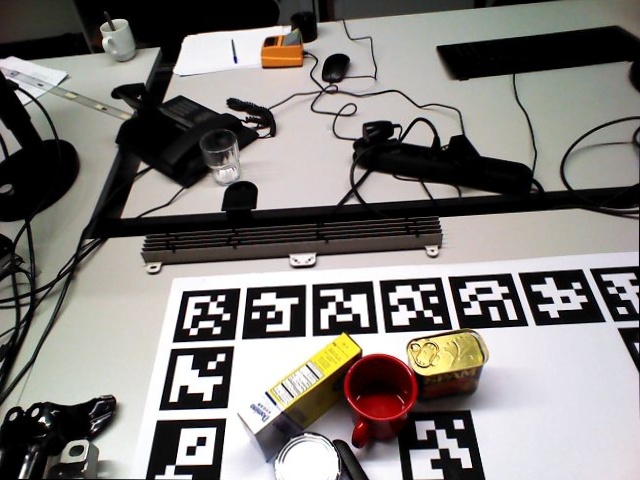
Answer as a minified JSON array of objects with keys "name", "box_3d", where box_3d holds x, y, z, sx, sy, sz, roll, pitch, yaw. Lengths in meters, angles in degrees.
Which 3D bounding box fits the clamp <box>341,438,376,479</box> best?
[{"name":"clamp","box_3d":[0.066,0.324,0.605,0.166,0.037,0.121,27,53,22]}]

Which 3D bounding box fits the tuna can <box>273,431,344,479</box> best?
[{"name":"tuna can","box_3d":[-0.013,0.285,0.642,0.086,0.034,0.085,-4,51,4]}]

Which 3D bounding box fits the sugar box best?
[{"name":"sugar box","box_3d":[-0.013,0.204,0.682,0.175,0.093,0.045,-33,52,-22]}]

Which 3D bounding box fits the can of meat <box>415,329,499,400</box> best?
[{"name":"can of meat","box_3d":[0.179,0.167,0.695,0.102,0.084,0.057,-10,47,-3]}]

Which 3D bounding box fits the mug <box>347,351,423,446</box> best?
[{"name":"mug","box_3d":[0.079,0.207,0.663,0.094,0.082,0.116,16,55,19]}]
